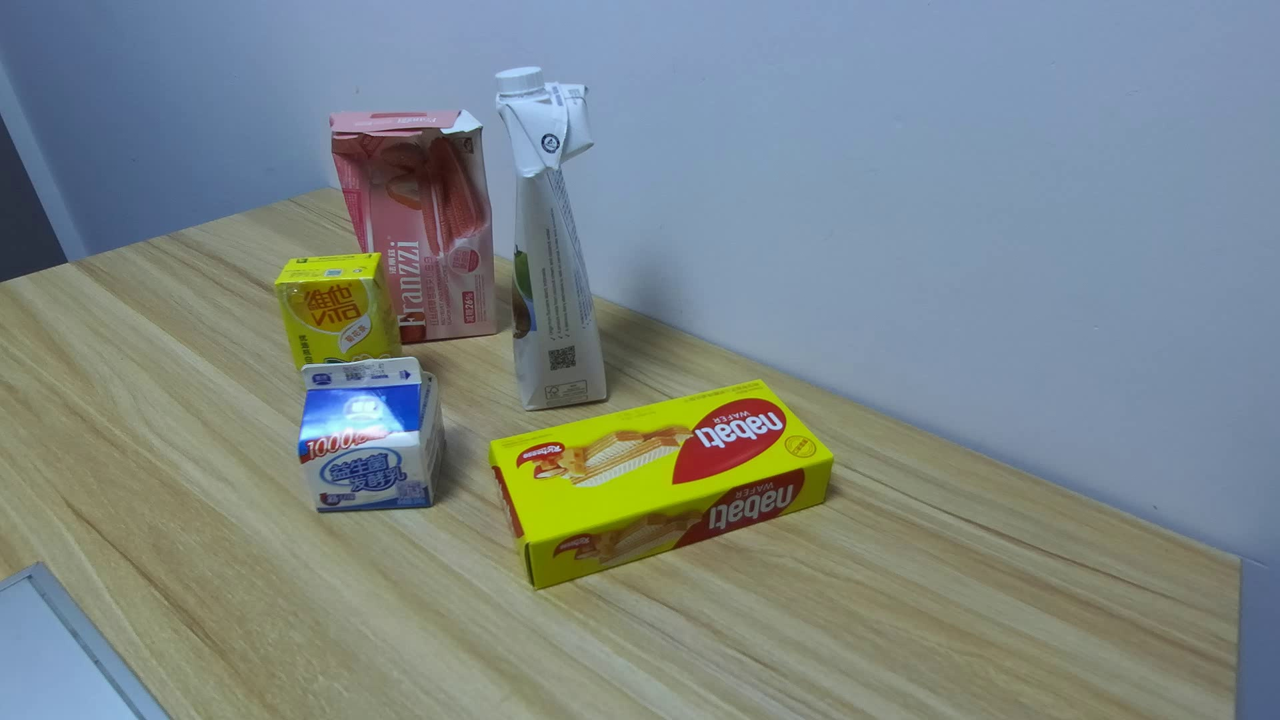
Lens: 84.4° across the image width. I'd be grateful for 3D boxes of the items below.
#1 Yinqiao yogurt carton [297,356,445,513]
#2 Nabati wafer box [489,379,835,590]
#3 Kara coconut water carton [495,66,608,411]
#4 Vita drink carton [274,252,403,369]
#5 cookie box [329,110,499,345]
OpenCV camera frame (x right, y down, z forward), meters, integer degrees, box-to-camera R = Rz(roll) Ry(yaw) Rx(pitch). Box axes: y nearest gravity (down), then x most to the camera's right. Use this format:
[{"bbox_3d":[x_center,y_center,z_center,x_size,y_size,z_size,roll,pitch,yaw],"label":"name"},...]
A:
[{"bbox_3d":[-0.170,0.038,0.449,0.076,0.092,0.073,-3,34,-6],"label":"Yinqiao yogurt carton"},{"bbox_3d":[0.014,0.072,0.456,0.203,0.042,0.092,-12,36,-19],"label":"Nabati wafer box"},{"bbox_3d":[-0.063,-0.080,0.500,0.069,0.239,0.115,-7,34,-10],"label":"Kara coconut water carton"},{"bbox_3d":[-0.218,-0.019,0.514,0.076,0.109,0.043,-4,34,-10],"label":"Vita drink carton"},{"bbox_3d":[-0.179,-0.103,0.577,0.119,0.184,0.055,-6,36,-10],"label":"cookie box"}]
